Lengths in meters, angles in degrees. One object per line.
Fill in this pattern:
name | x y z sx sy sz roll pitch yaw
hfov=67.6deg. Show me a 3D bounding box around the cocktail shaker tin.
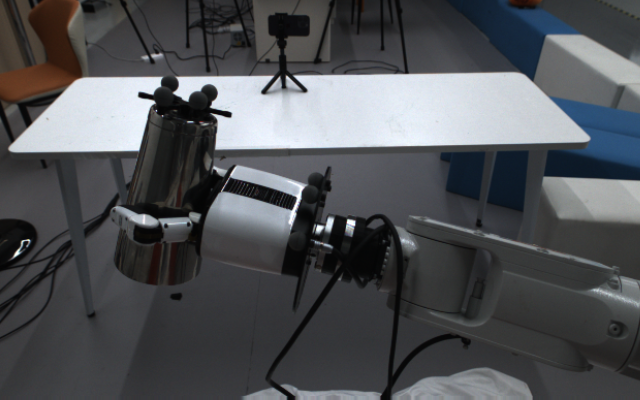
cocktail shaker tin | -0.153 -0.007 0.504 0.093 0.170 0.093 15 20 -5
